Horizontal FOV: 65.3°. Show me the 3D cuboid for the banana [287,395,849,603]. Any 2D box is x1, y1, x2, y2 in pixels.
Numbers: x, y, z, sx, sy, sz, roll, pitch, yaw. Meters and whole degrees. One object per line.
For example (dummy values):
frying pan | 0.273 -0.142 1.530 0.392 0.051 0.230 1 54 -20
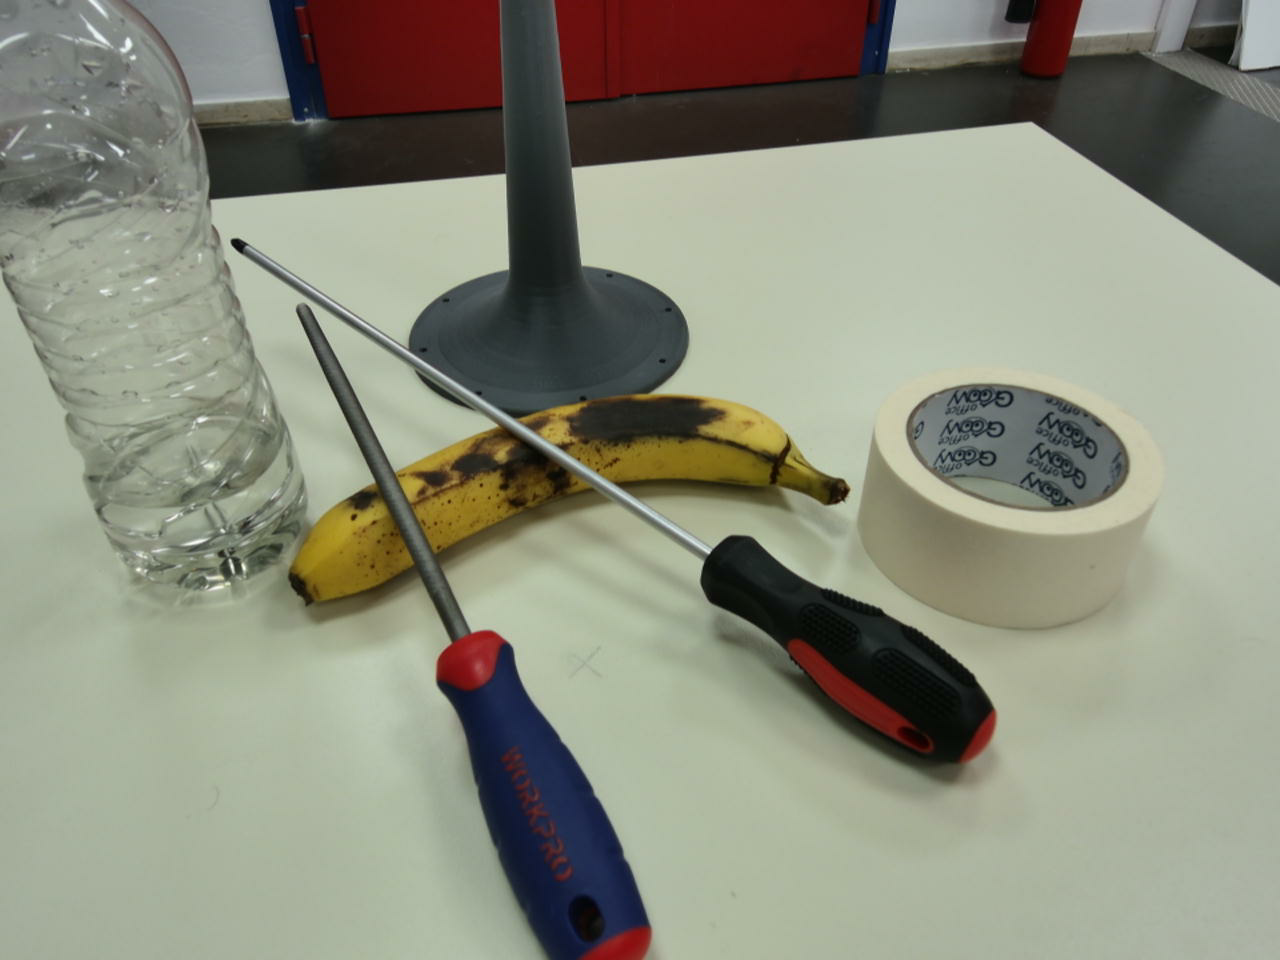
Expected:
banana | -0.031 -0.001 0.416 0.222 0.037 0.084 -8 39 -11
